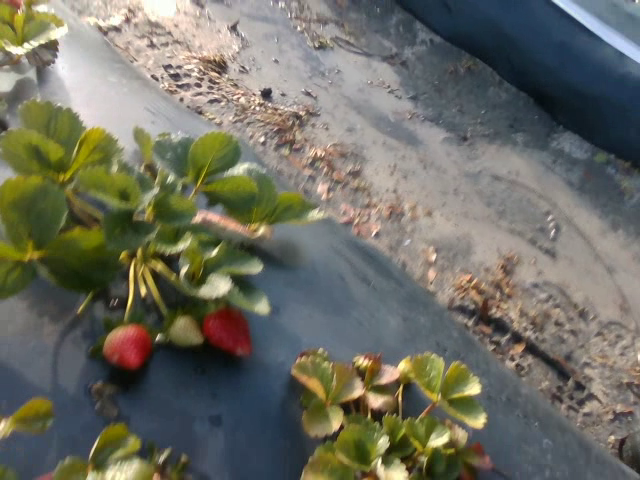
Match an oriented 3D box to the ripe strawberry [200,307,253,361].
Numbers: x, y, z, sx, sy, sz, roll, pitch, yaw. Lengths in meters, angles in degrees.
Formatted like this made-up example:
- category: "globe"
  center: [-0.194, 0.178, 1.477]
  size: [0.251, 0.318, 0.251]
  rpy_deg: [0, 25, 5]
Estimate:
- category: "ripe strawberry"
  center: [-0.087, 0.095, 0.594]
  size: [0.048, 0.064, 0.050]
  rpy_deg: [-36, -19, 1]
